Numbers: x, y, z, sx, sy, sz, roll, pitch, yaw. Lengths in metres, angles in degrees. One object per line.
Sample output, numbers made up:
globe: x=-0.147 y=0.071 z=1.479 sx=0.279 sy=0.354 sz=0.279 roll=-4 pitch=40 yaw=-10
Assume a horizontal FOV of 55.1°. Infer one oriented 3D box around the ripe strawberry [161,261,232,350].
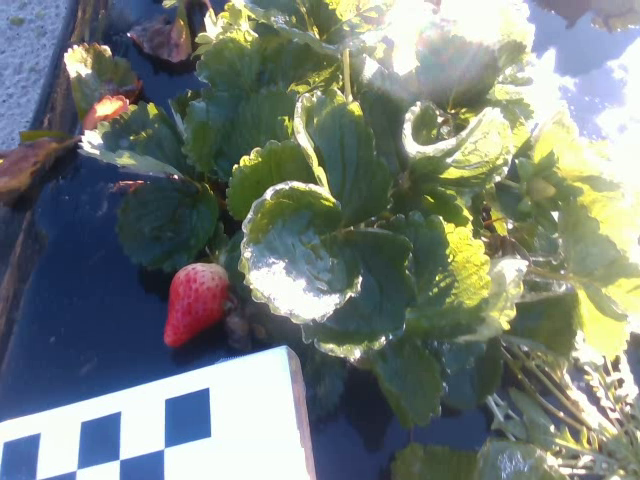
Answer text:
ripe strawberry: x=-0.088 y=0.039 z=0.382 sx=0.040 sy=0.065 sz=0.040 roll=23 pitch=-18 yaw=27
